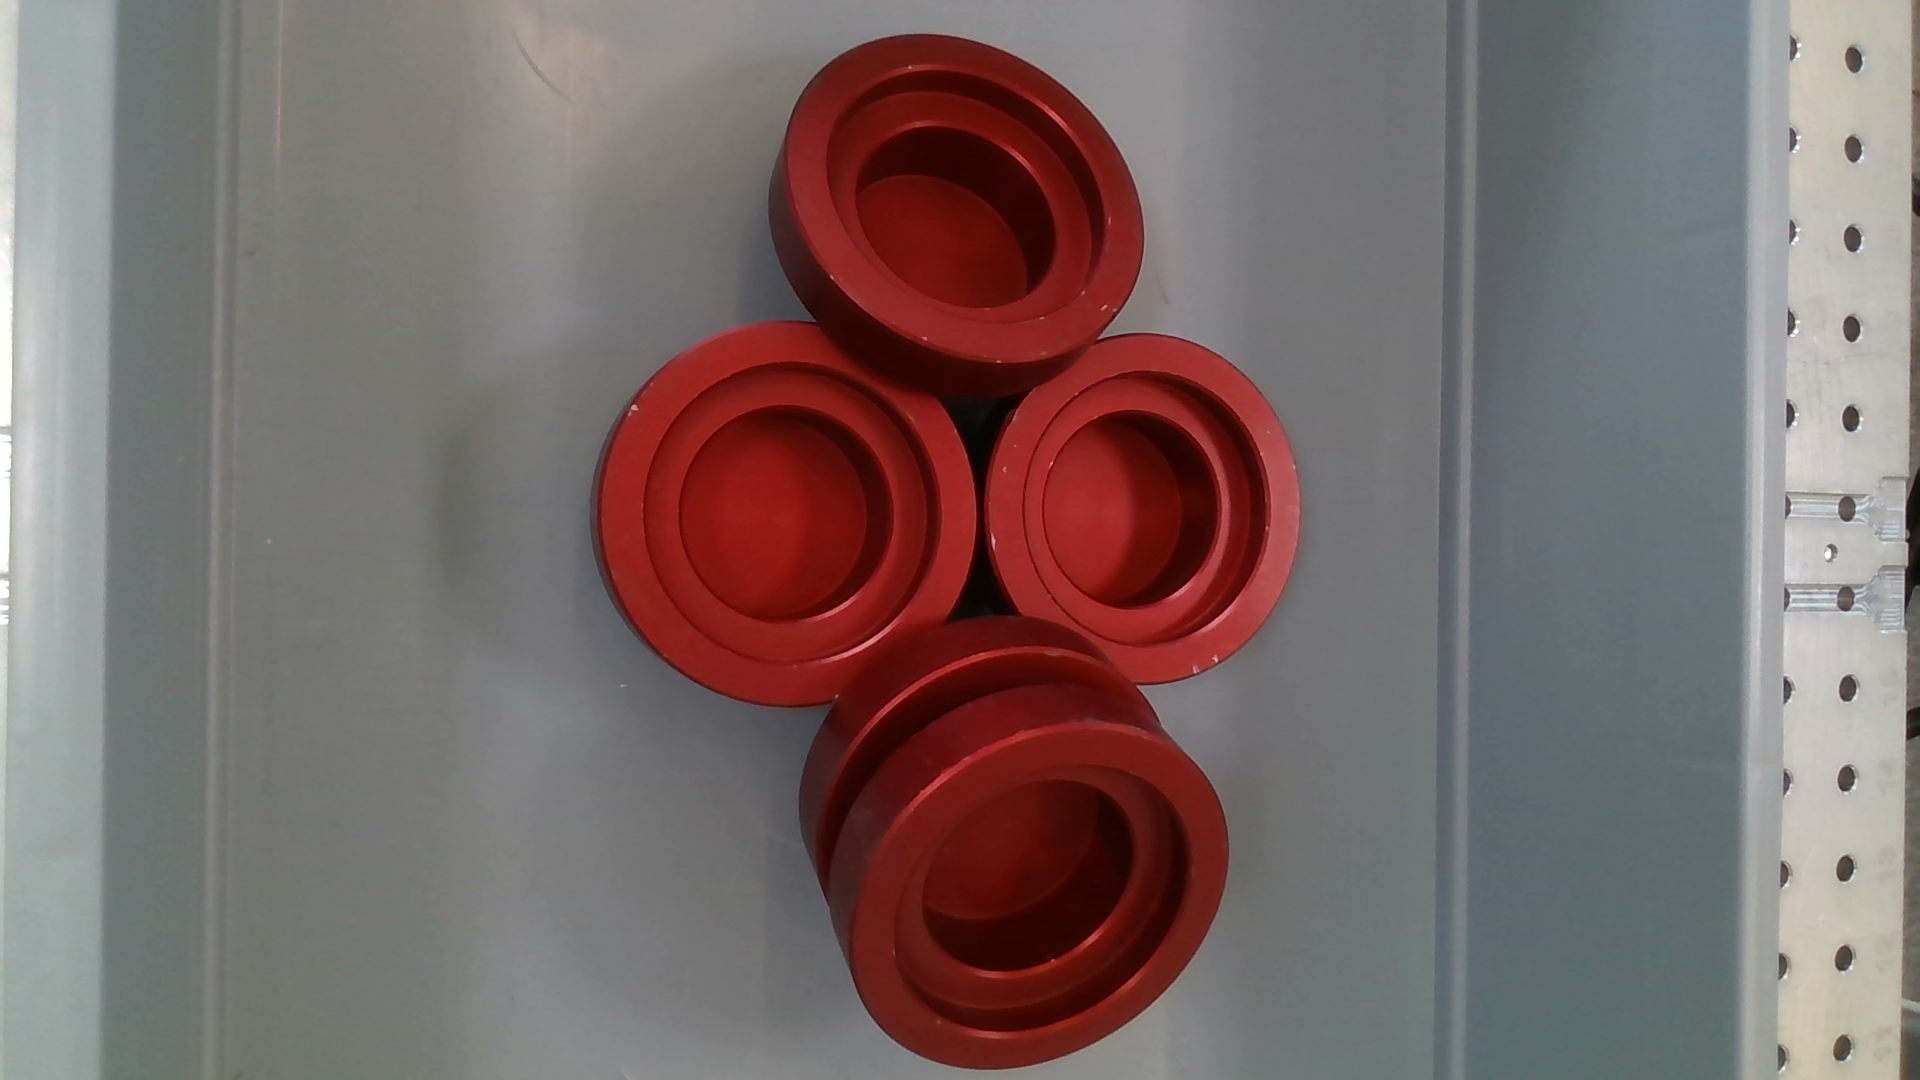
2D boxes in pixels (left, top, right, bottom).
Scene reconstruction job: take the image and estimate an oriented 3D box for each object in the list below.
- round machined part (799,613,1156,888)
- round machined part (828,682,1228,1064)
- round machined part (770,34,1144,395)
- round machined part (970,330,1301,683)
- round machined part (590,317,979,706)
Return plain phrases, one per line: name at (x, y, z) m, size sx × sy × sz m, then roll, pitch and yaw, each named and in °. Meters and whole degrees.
round machined part at (0.004, 0.064, 0.374) m, size 0.098 × 0.042 × 0.098 m, roll -8°, pitch 115°, yaw -18°
round machined part at (0.014, 0.079, 0.348) m, size 0.098 × 0.042 × 0.098 m, roll -8°, pitch 115°, yaw -17°
round machined part at (-0.003, -0.083, 0.371) m, size 0.098 × 0.042 × 0.098 m, roll 8°, pitch 67°, yaw -18°
round machined part at (0.046, -0.009, 0.400) m, size 0.098 × 0.042 × 0.098 m, roll 0°, pitch 90°, yaw -20°
round machined part at (-0.048, -0.007, 0.366) m, size 0.098 × 0.042 × 0.098 m, roll 0°, pitch 90°, yaw -20°
